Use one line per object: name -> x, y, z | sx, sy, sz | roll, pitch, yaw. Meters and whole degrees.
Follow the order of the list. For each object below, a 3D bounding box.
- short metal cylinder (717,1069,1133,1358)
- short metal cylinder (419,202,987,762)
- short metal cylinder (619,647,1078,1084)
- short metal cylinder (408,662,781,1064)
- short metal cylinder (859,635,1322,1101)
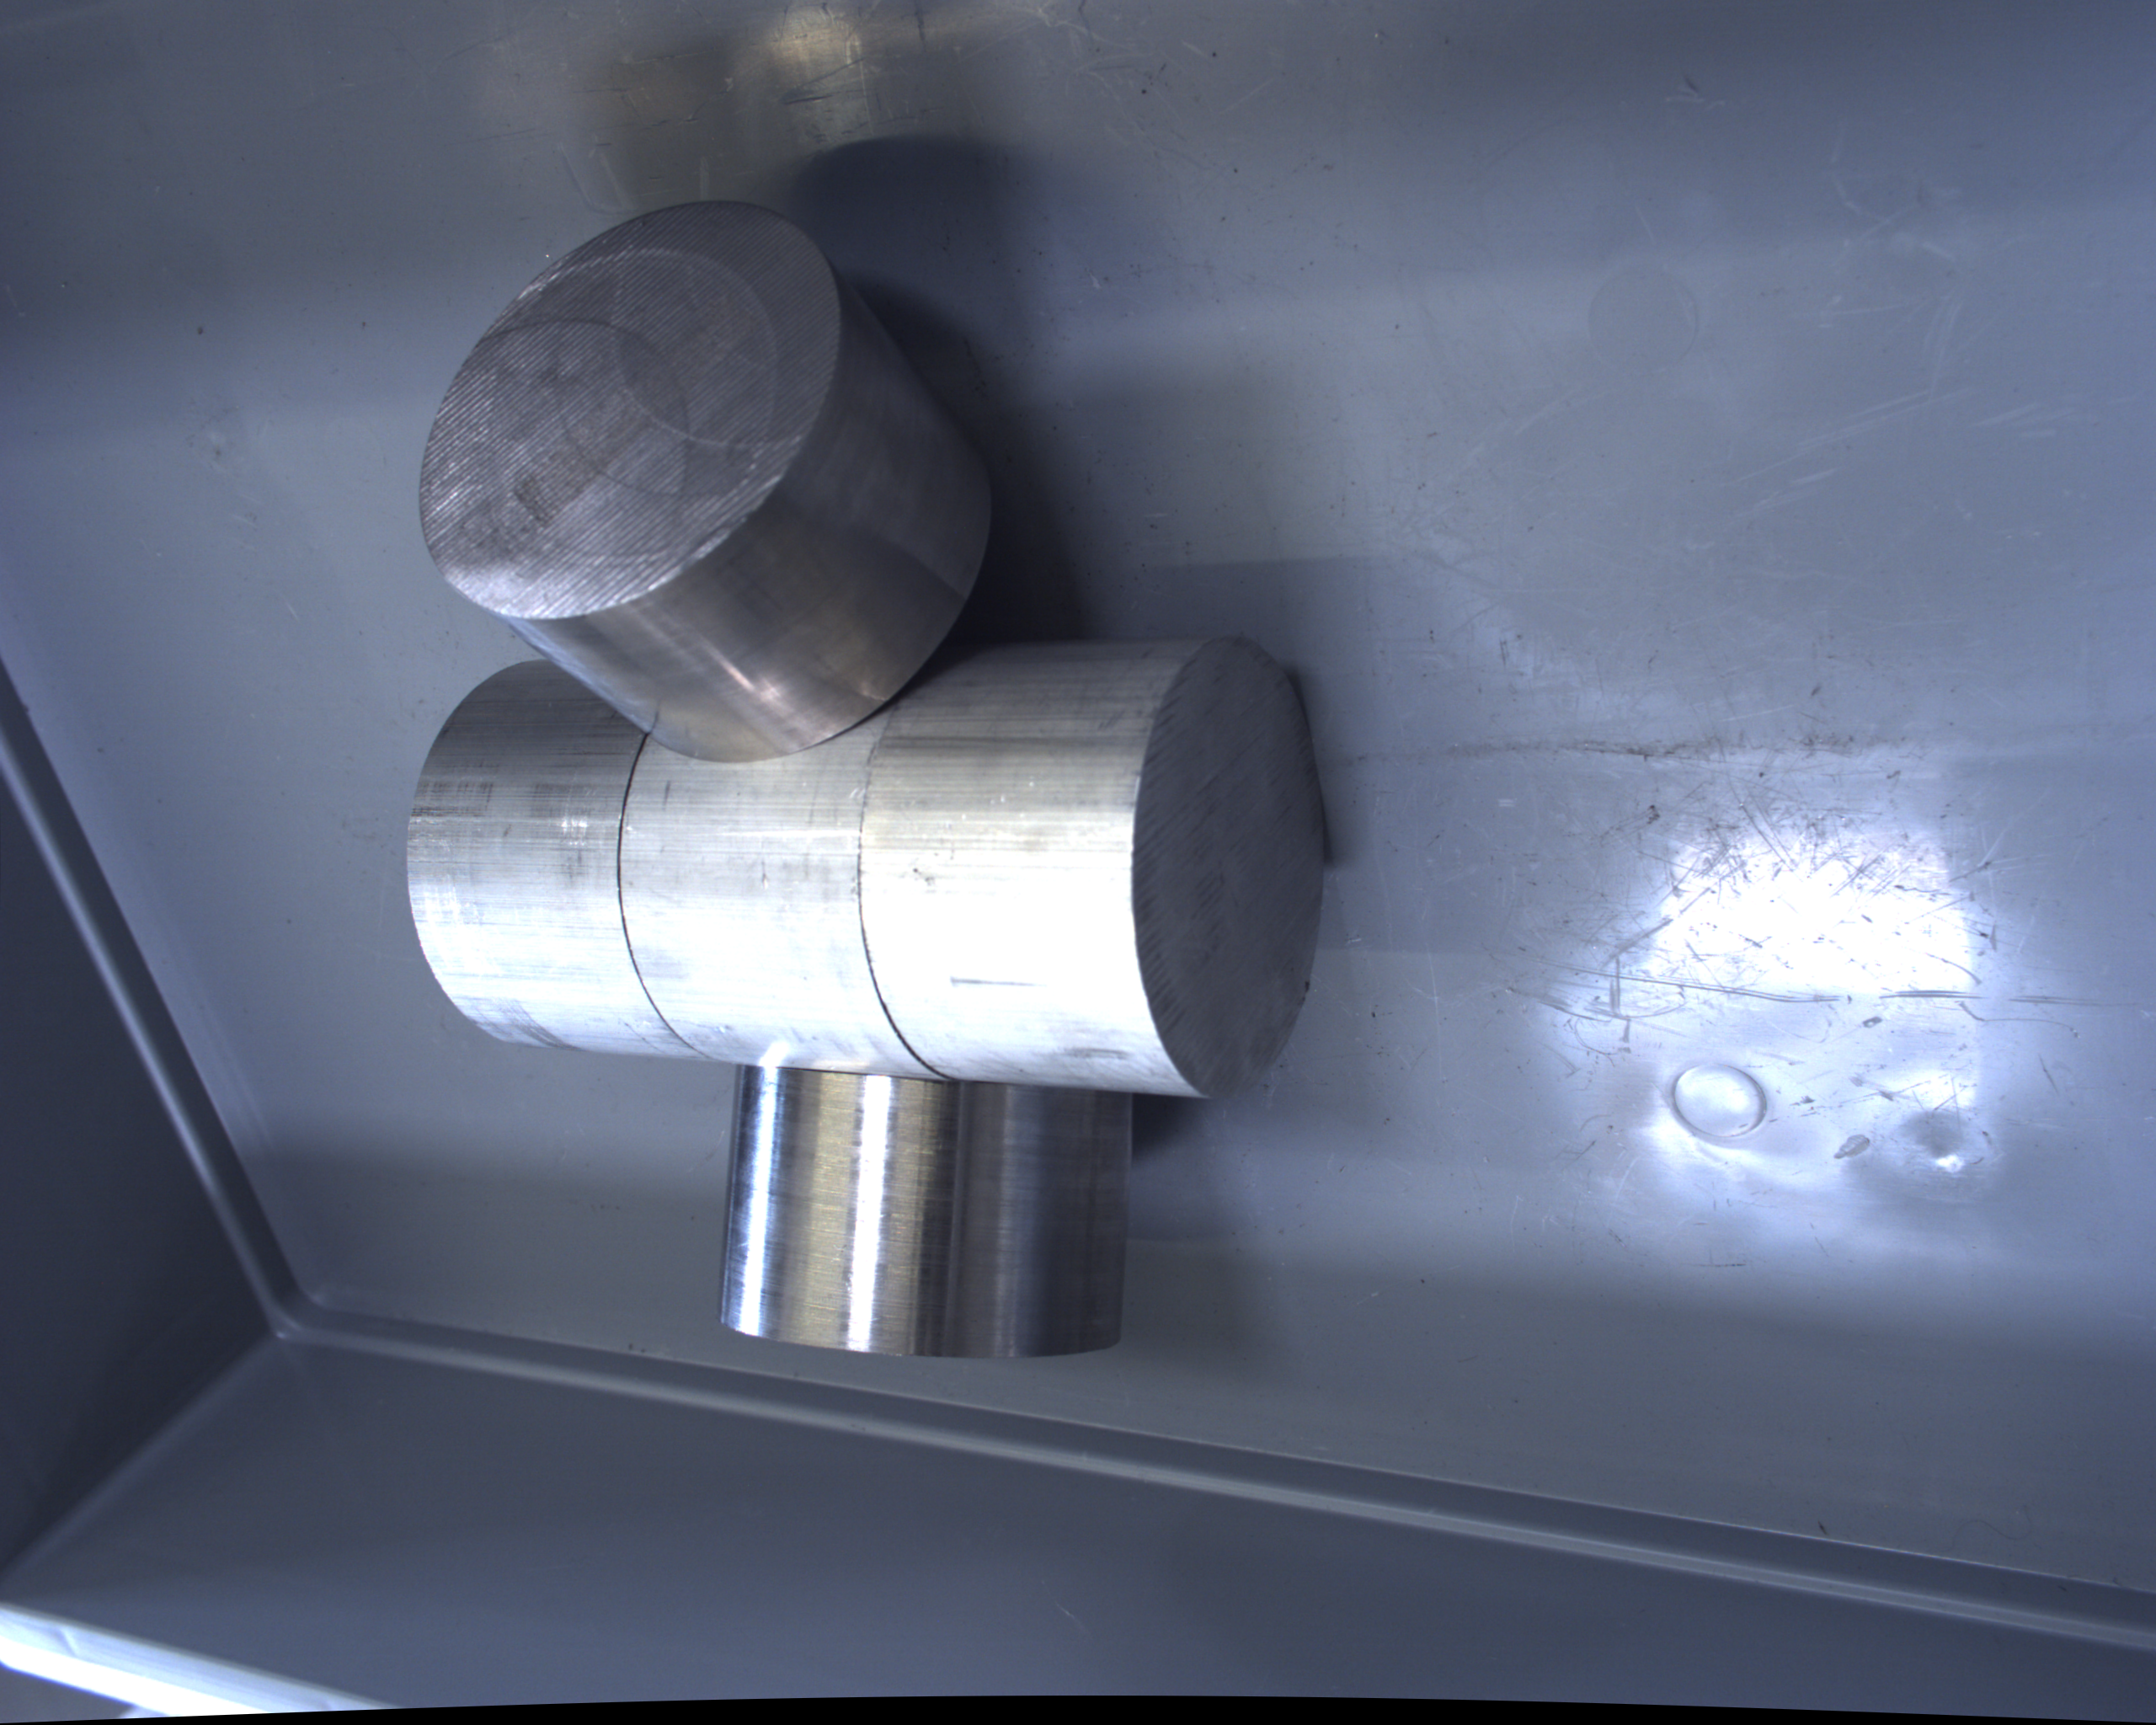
short metal cylinder -> -0.030, 0.068, 0.420 | 0.080, 0.080, 0.050 | 0, 85, 28
short metal cylinder -> -0.063, -0.064, 0.355 | 0.080, 0.080, 0.050 | 2, 157, 27
short metal cylinder -> -0.040, 0.000, 0.392 | 0.050, 0.080, 0.080 | 2, 119, 28
short metal cylinder -> -0.085, -0.001, 0.415 | 0.050, 0.080, 0.080 | 2, 119, 28
short metal cylinder -> 0.005, 0.000, 0.369 | 0.050, 0.080, 0.080 | 2, 119, 28
